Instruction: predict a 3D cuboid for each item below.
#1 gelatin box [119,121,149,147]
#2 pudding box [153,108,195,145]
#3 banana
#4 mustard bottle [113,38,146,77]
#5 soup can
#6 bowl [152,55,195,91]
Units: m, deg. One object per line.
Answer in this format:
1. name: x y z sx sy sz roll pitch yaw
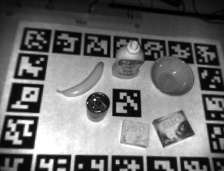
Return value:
1. gelatin box: 0.072 0.158 0.706 0.089 0.030 0.073 10 70 -3
2. pudding box: 0.209 0.139 0.729 0.114 0.038 0.089 -19 77 -15
3. banana: -0.096 -0.032 0.757 0.073 0.039 0.198 39 67 20
4. mustard bottle: 0.061 -0.095 0.710 0.096 0.191 0.058 3 64 -6
5. soup can: -0.053 0.058 0.681 0.068 0.102 0.067 4 65 -8
6. bowl: 0.221 -0.036 0.799 0.162 0.055 0.161 3 66 -5
